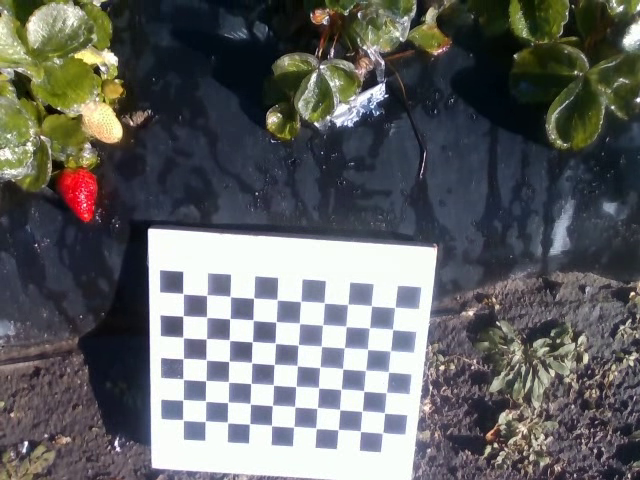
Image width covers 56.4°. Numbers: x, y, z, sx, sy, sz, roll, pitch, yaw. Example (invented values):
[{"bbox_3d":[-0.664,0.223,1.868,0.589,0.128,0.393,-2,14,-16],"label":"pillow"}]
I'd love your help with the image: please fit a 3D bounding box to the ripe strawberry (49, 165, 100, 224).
[{"bbox_3d":[-0.234,-0.040,0.571,0.041,0.052,0.040,-14,7,3],"label":"ripe strawberry"}]
